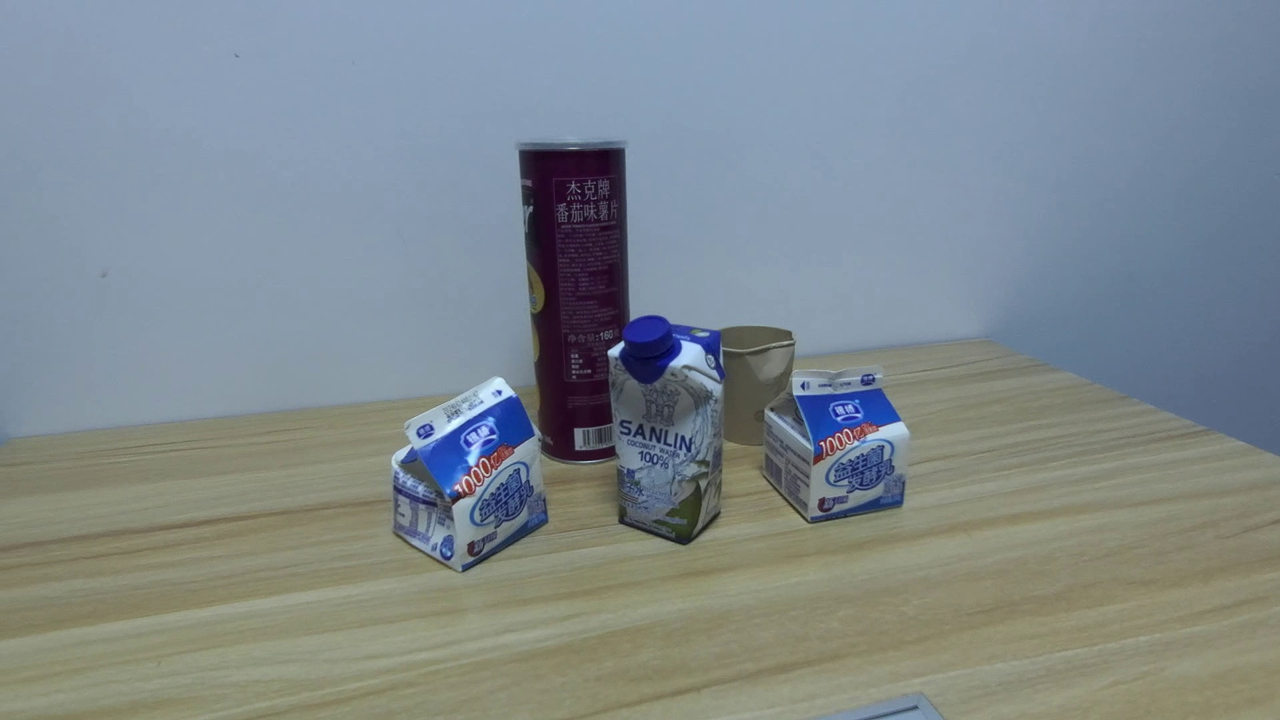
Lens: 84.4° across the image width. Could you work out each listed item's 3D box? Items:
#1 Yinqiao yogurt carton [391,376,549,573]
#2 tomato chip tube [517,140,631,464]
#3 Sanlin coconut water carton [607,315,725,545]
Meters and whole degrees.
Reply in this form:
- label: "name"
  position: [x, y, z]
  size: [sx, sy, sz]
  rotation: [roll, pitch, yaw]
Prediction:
- label: "Yinqiao yogurt carton"
  position: [-0.107, 0.063, 0.444]
  size: [0.077, 0.093, 0.083]
  rotation: [15, 25, 38]
- label: "tomato chip tube"
  position: [-0.044, -0.041, 0.532]
  size: [0.078, 0.234, 0.078]
  rotation: [-1, 17, 1]
- label: "Sanlin coconut water carton"
  position: [0.017, 0.039, 0.437]
  size: [0.077, 0.142, 0.058]
  rotation: [11, 27, 32]
